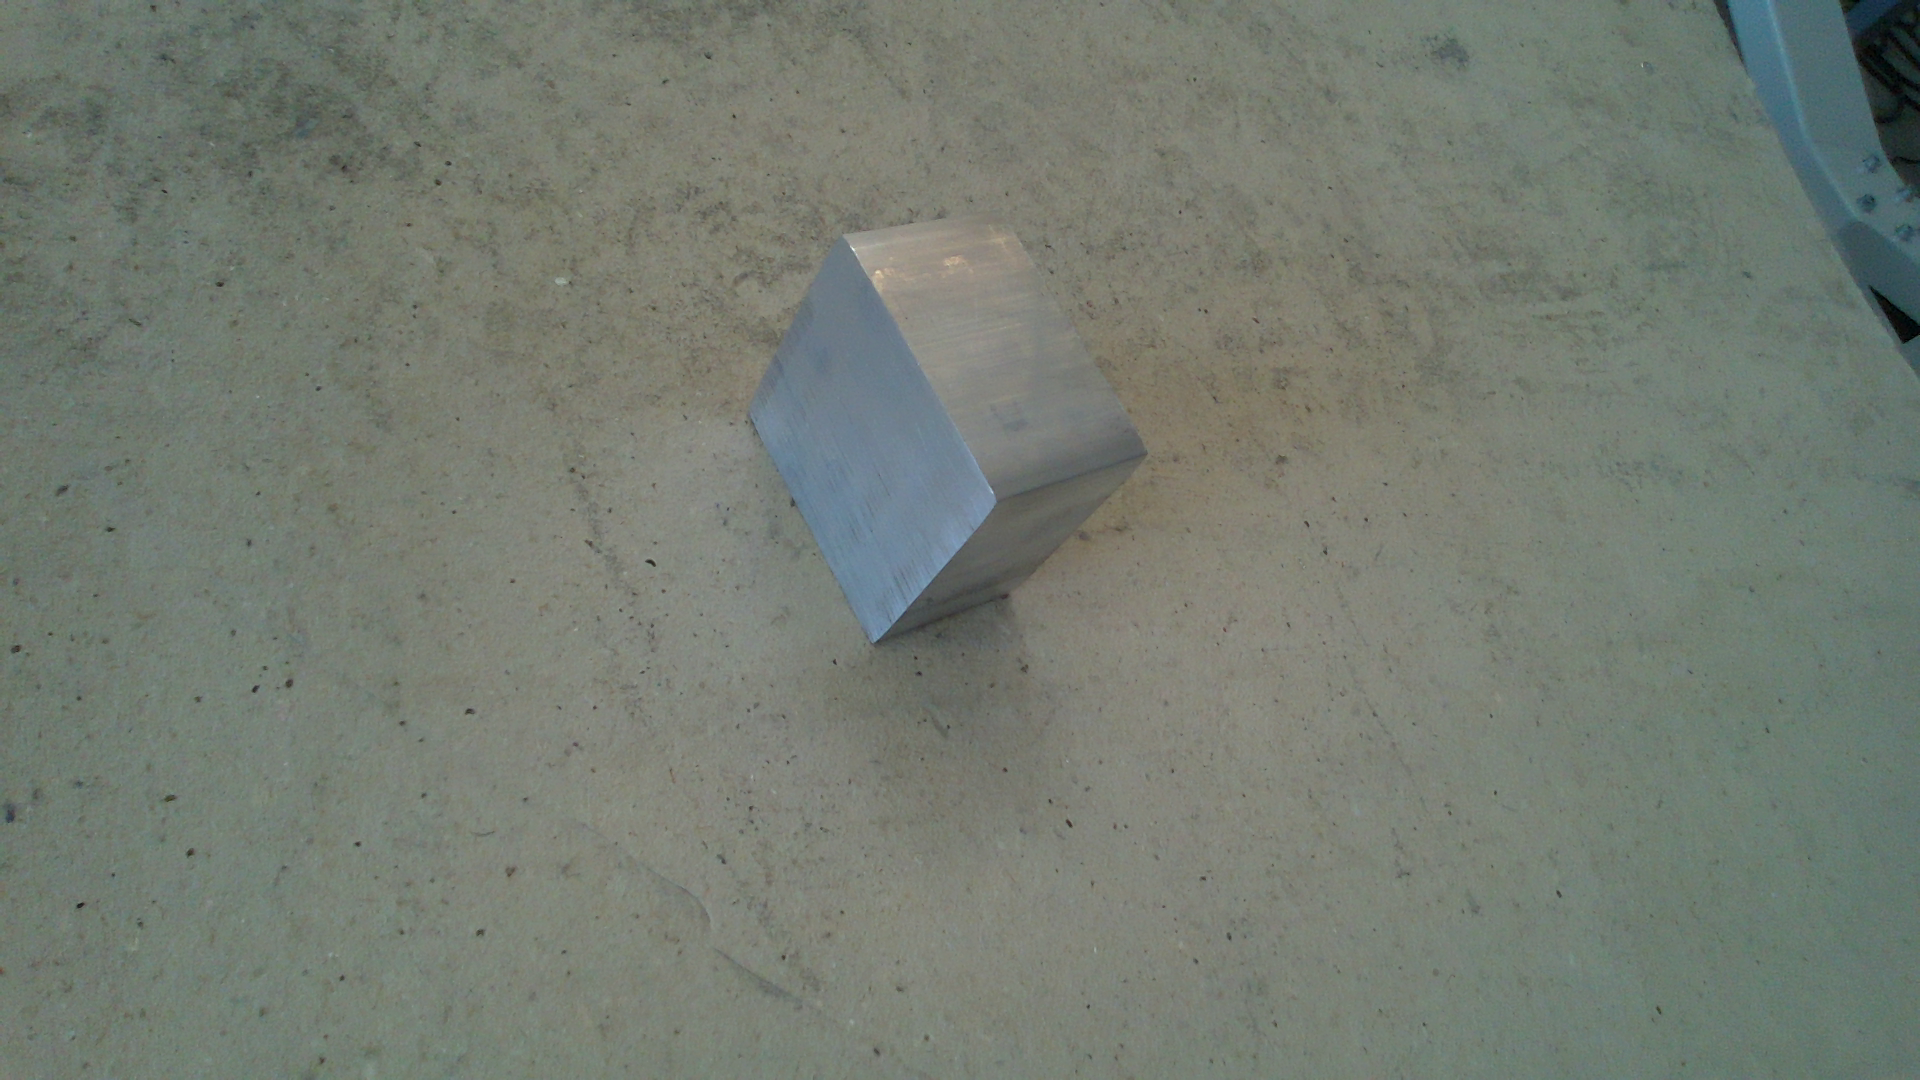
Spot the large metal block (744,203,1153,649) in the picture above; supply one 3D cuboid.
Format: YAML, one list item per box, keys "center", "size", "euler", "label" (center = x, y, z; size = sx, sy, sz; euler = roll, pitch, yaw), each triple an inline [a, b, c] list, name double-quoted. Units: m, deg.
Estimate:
- center: [-0.007, -0.030, 0.368]
  size: [0.050, 0.080, 0.080]
  euler: [-18, 71, -35]
  label: "large metal block"
